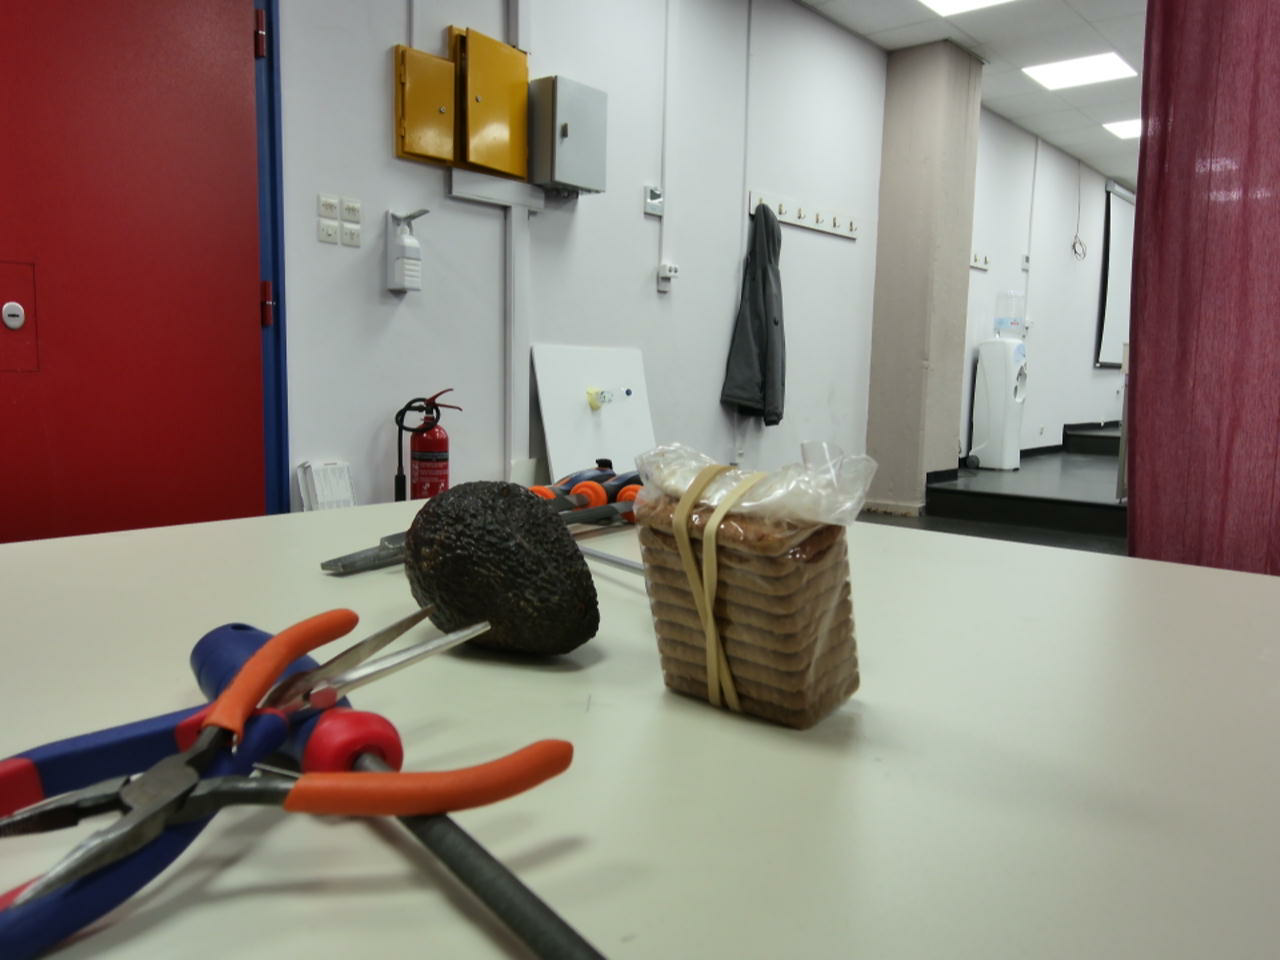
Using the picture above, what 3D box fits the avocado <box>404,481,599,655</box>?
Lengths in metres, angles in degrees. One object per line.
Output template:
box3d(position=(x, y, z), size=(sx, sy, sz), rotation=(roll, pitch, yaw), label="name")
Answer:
box3d(position=(-0.060, 0.036, 0.416), size=(0.070, 0.069, 0.090), rotation=(-1, 4, -25), label="avocado")
